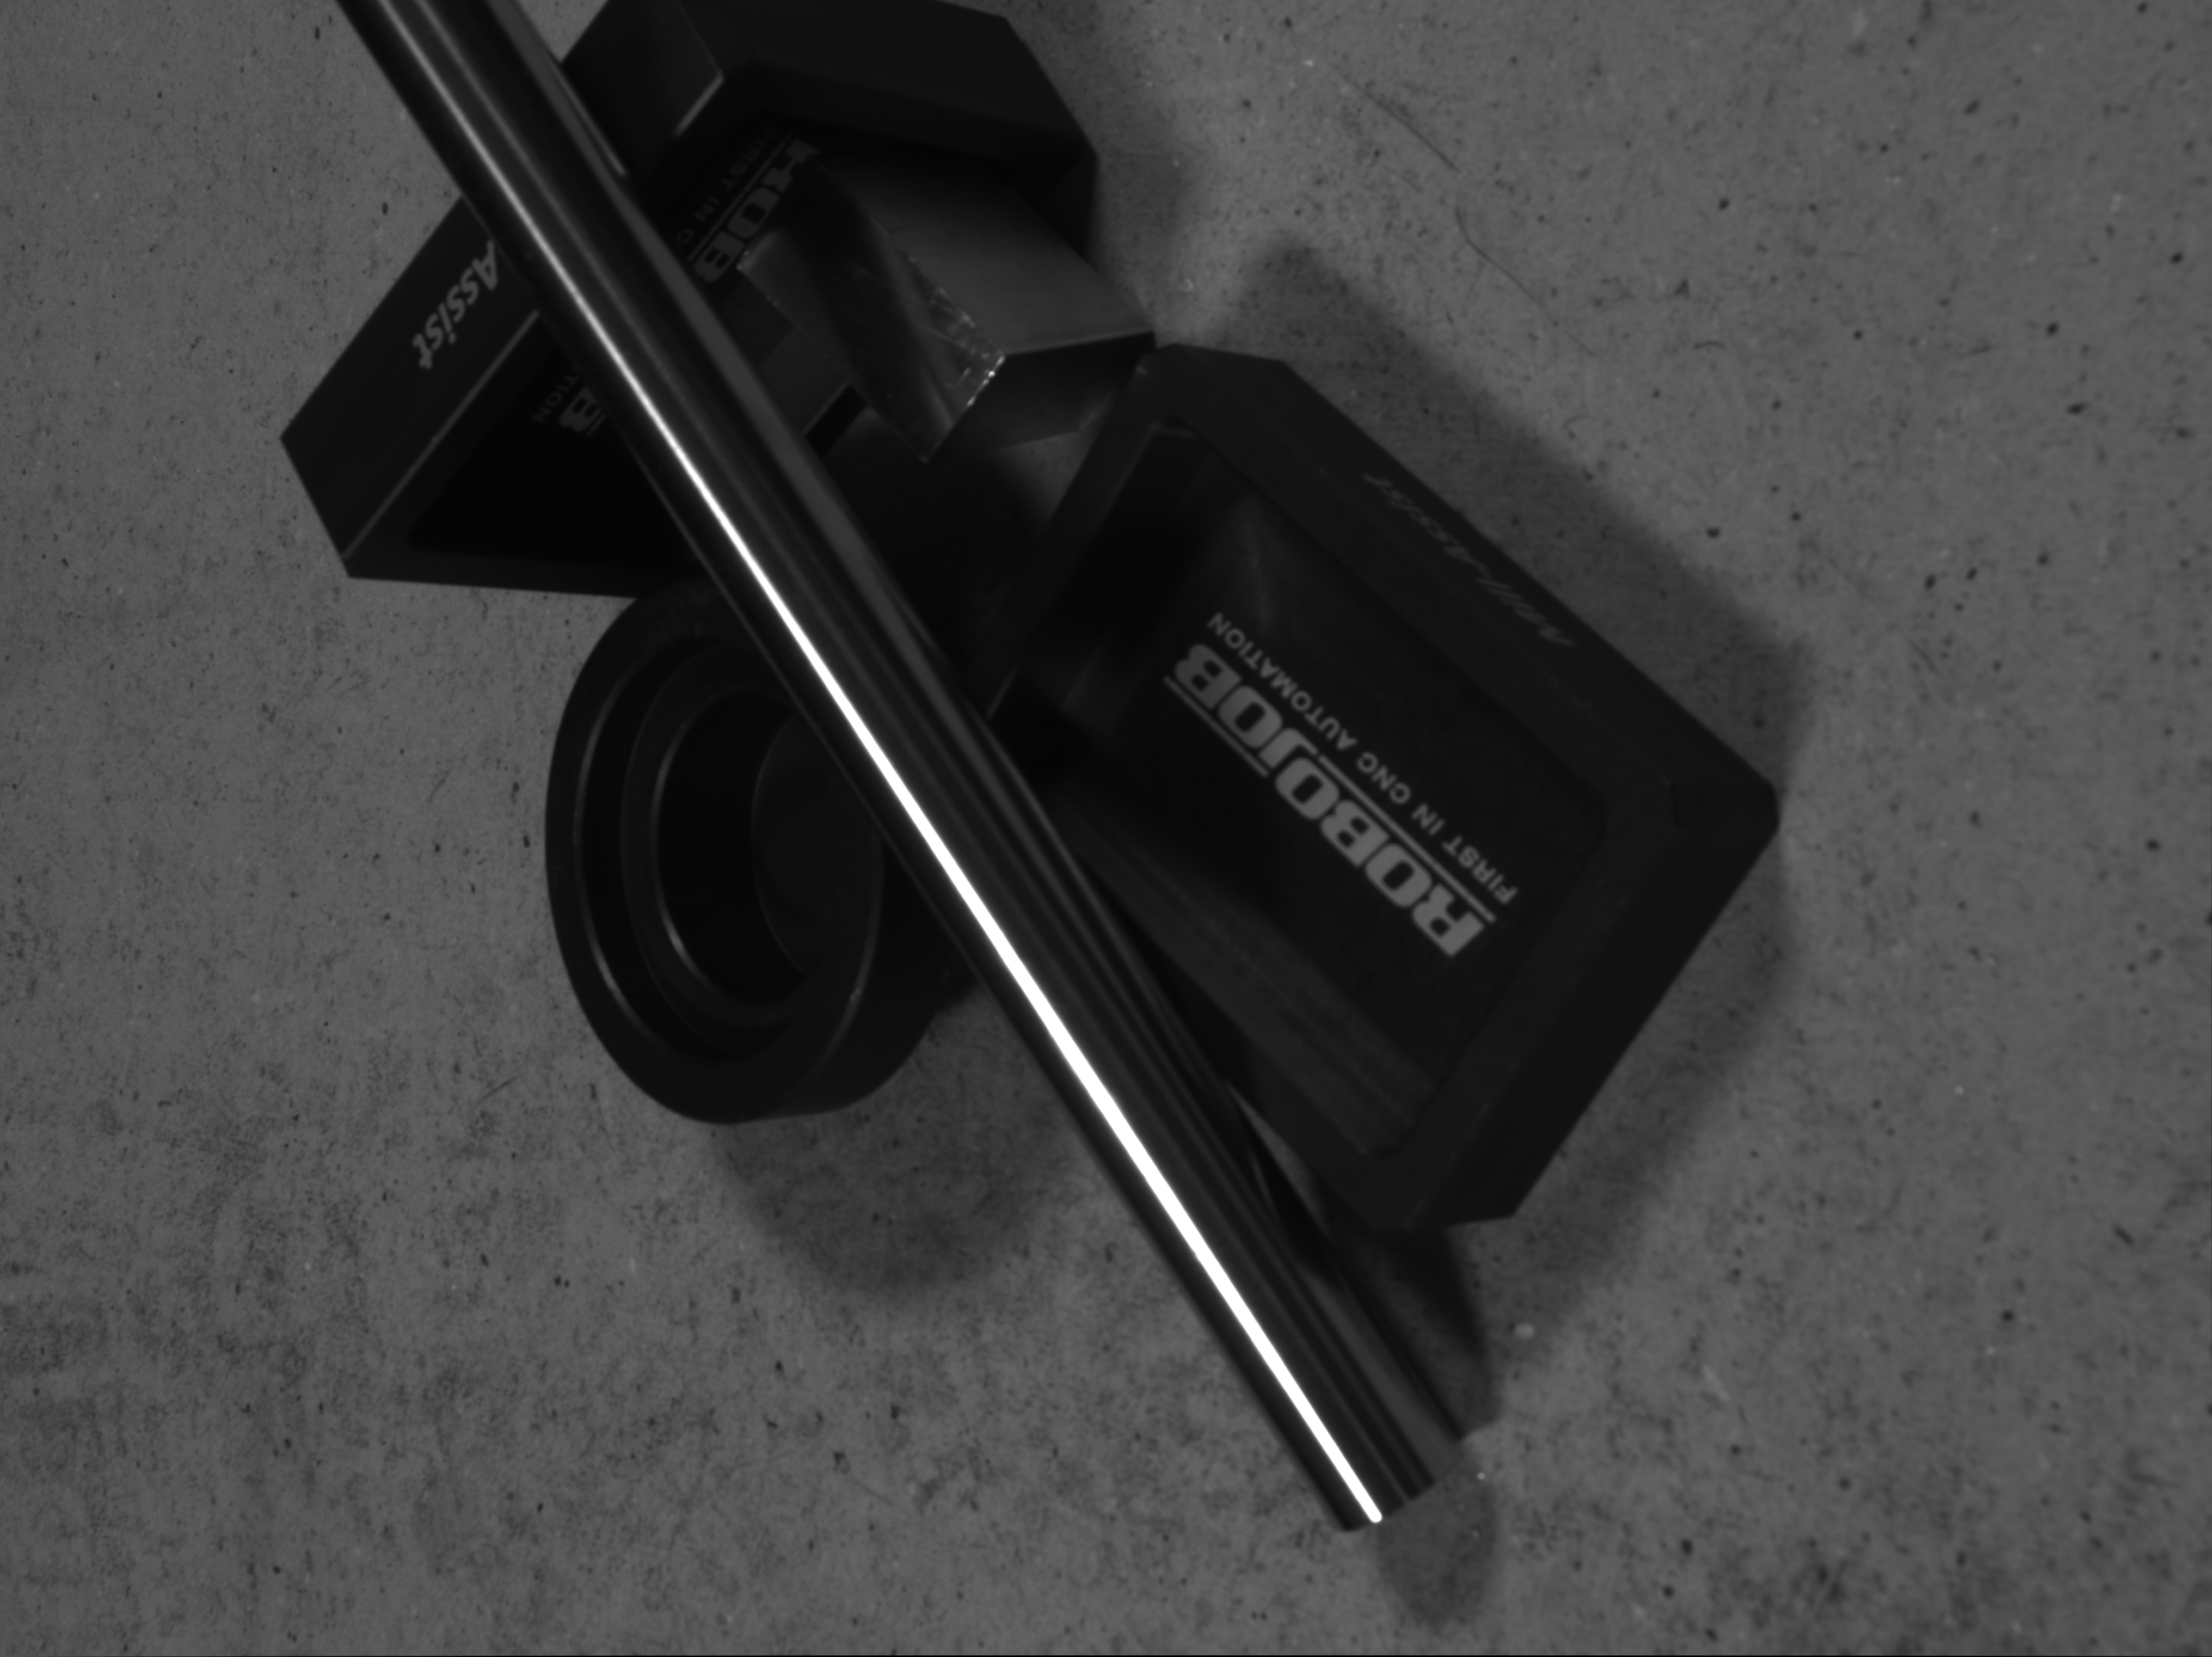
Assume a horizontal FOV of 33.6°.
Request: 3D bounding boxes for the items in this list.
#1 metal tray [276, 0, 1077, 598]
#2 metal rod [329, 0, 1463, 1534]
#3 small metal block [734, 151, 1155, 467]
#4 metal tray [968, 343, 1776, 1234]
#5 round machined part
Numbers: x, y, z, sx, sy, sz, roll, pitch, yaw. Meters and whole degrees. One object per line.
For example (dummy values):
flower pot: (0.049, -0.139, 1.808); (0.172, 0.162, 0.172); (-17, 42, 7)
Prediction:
metal tray: (-0.077, -0.095, 0.657); (0.130, 0.090, 0.030); (-45, 63, 30)
metal rod: (-0.034, -0.017, 0.596); (0.025, 0.025, 0.300); (-32, 92, 35)
small metal block: (-0.028, -0.092, 0.637); (0.050, 0.050, 0.025); (47, 121, 13)
metal tray: (0.036, -0.008, 0.604); (0.130, 0.030, 0.090); (45, 117, 30)
round machined part: (-0.057, 0.004, 0.668); (0.098, 0.042, 0.098); (4, 96, 45)
